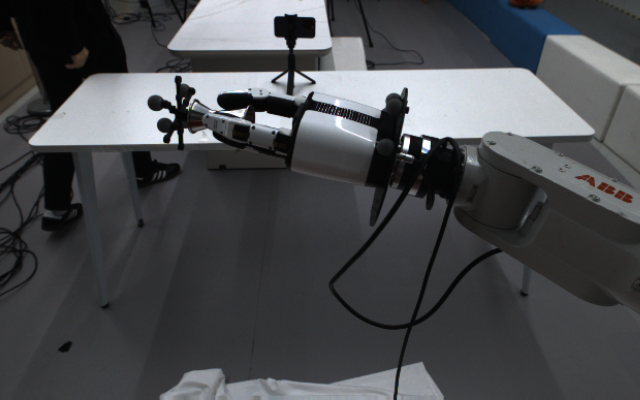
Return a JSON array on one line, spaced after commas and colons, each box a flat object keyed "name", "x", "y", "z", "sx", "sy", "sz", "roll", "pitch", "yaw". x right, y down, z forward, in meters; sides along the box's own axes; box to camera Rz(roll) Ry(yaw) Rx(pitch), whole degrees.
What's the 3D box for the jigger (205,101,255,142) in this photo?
[{"name": "jigger", "x": -0.106, "y": -0.097, "z": 0.564, "sx": 0.071, "sy": 0.043, "sz": 0.043, "roll": 8, "pitch": 35, "yaw": 6}]
